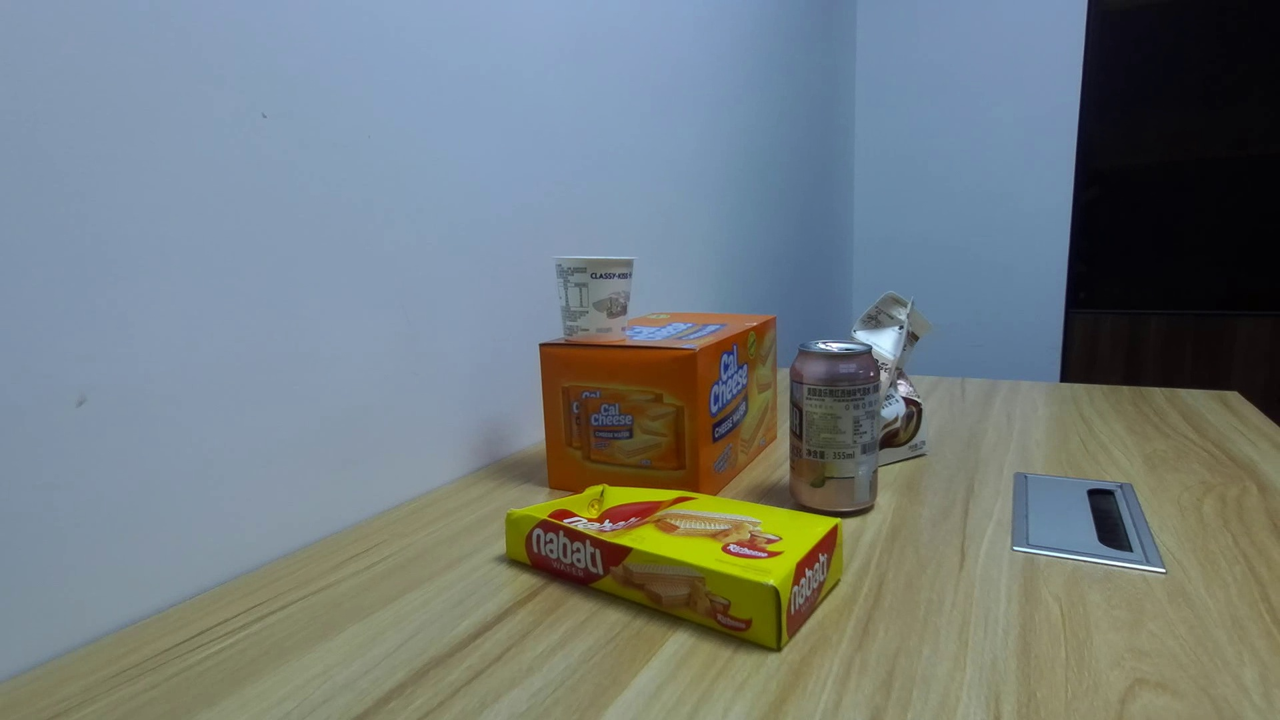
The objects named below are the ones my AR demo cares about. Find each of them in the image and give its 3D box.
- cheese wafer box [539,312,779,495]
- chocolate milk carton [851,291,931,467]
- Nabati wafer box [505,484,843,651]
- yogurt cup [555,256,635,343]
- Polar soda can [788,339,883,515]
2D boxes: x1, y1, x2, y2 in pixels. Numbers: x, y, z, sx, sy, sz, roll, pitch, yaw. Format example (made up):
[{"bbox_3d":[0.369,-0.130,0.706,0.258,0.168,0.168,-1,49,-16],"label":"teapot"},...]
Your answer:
[{"bbox_3d":[0.030,0.033,0.656,0.147,0.129,0.222,3,11,27],"label":"cheese wafer box"},{"bbox_3d":[0.229,0.017,0.656,0.090,0.155,0.076,9,7,-32],"label":"chocolate milk carton"},{"bbox_3d":[0.016,0.114,0.443,0.202,0.042,0.097,4,14,38],"label":"Nabati wafer box"},{"bbox_3d":[-0.038,-0.051,0.593,0.072,0.068,0.072,0,7,0],"label":"yogurt cup"},{"bbox_3d":[0.147,0.050,0.536,0.067,0.125,0.067,-2,9,1],"label":"Polar soda can"}]
